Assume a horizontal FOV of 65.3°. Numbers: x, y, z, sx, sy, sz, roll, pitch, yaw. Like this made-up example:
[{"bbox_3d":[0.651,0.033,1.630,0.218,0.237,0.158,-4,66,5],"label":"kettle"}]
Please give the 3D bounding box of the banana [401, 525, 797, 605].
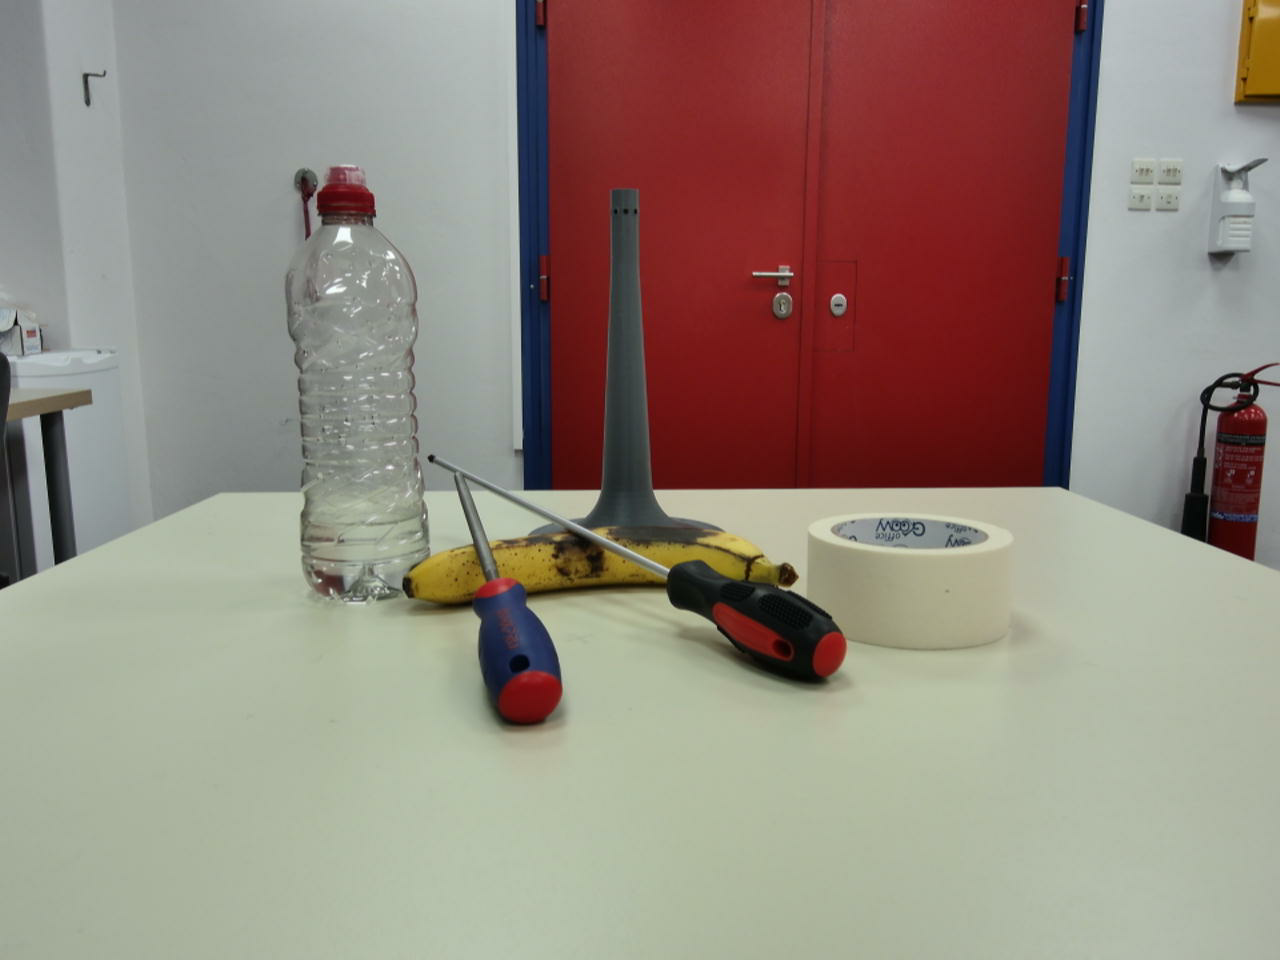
[{"bbox_3d":[-0.023,0.051,0.598,0.222,0.037,0.084,0,7,0],"label":"banana"}]
